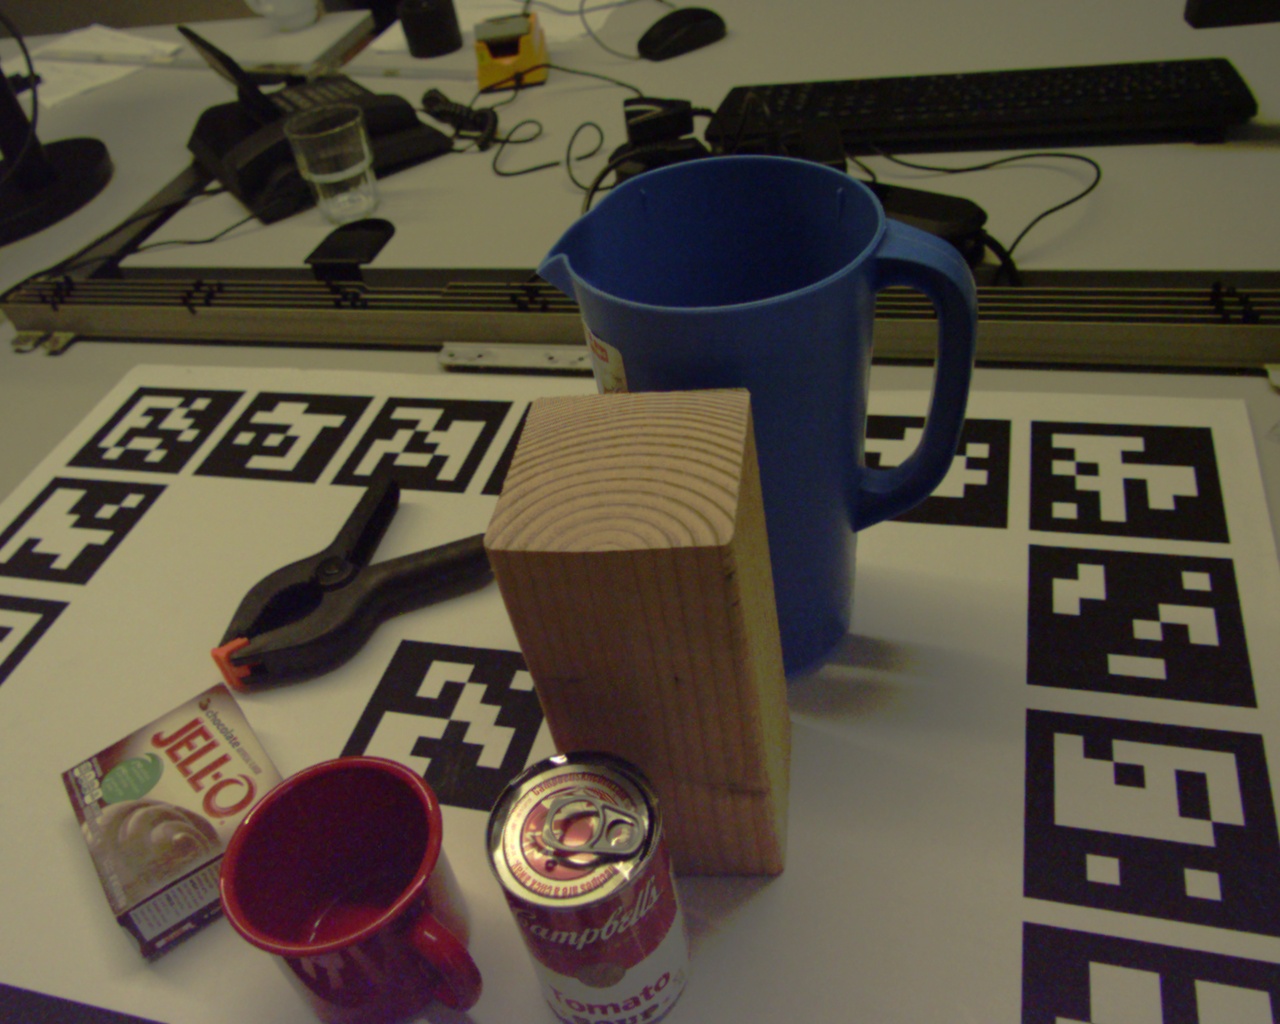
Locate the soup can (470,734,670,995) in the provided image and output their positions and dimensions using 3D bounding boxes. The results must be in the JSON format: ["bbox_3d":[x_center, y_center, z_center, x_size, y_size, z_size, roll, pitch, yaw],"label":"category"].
[{"bbox_3d":[-0.027,0.152,0.487,0.068,0.101,0.068,-8,43,6],"label":"soup can"}]

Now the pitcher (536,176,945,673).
[{"bbox_3d":[0.058,-0.036,0.578,0.190,0.241,0.133,1,40,19],"label":"pitcher"}]

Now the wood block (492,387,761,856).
[{"bbox_3d":[0.005,0.055,0.510,0.090,0.205,0.091,4,42,13],"label":"wood block"}]

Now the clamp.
[{"bbox_3d":[-0.176,0.044,0.712,0.123,0.036,0.164,33,58,31],"label":"clamp"}]

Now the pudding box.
[{"bbox_3d":[-0.239,0.145,0.603,0.089,0.038,0.115,-34,44,-19],"label":"pudding box"}]

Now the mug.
[{"bbox_3d":[-0.119,0.168,0.509,0.092,0.081,0.119,-31,43,-24],"label":"mug"}]
